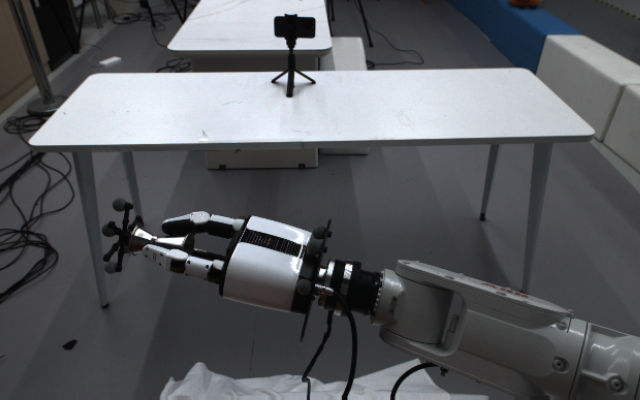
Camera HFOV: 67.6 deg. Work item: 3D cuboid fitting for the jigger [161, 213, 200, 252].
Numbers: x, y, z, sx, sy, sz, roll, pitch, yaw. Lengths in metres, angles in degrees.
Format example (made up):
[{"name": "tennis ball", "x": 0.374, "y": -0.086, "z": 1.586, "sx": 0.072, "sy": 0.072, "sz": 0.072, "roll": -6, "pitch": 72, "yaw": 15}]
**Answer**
[{"name": "jigger", "x": -0.191, "y": 0.055, "z": 0.611, "sx": 0.071, "sy": 0.043, "sz": 0.043, "roll": 10, "pitch": 35, "yaw": 3}]
